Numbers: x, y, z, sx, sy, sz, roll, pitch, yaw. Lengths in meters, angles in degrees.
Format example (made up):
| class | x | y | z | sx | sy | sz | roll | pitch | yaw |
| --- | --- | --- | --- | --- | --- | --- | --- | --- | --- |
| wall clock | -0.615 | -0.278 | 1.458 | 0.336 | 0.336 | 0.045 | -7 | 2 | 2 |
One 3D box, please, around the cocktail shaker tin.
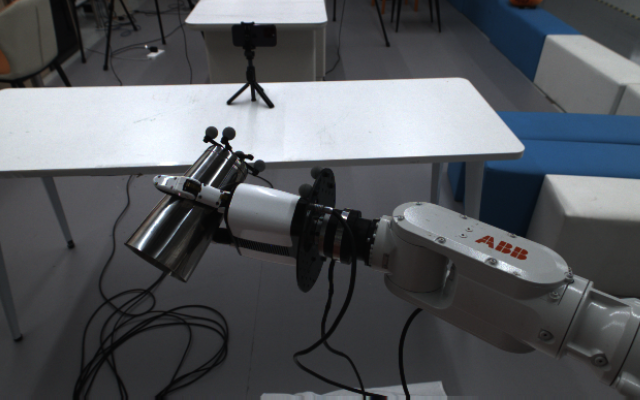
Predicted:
| class | x | y | z | sx | sy | sz | roll | pitch | yaw |
| --- | --- | --- | --- | --- | --- | --- | --- | --- | --- |
| cocktail shaker tin | -0.166 | 0.009 | 0.641 | 0.093 | 0.093 | 0.170 | 20 | 67 | 24 |
